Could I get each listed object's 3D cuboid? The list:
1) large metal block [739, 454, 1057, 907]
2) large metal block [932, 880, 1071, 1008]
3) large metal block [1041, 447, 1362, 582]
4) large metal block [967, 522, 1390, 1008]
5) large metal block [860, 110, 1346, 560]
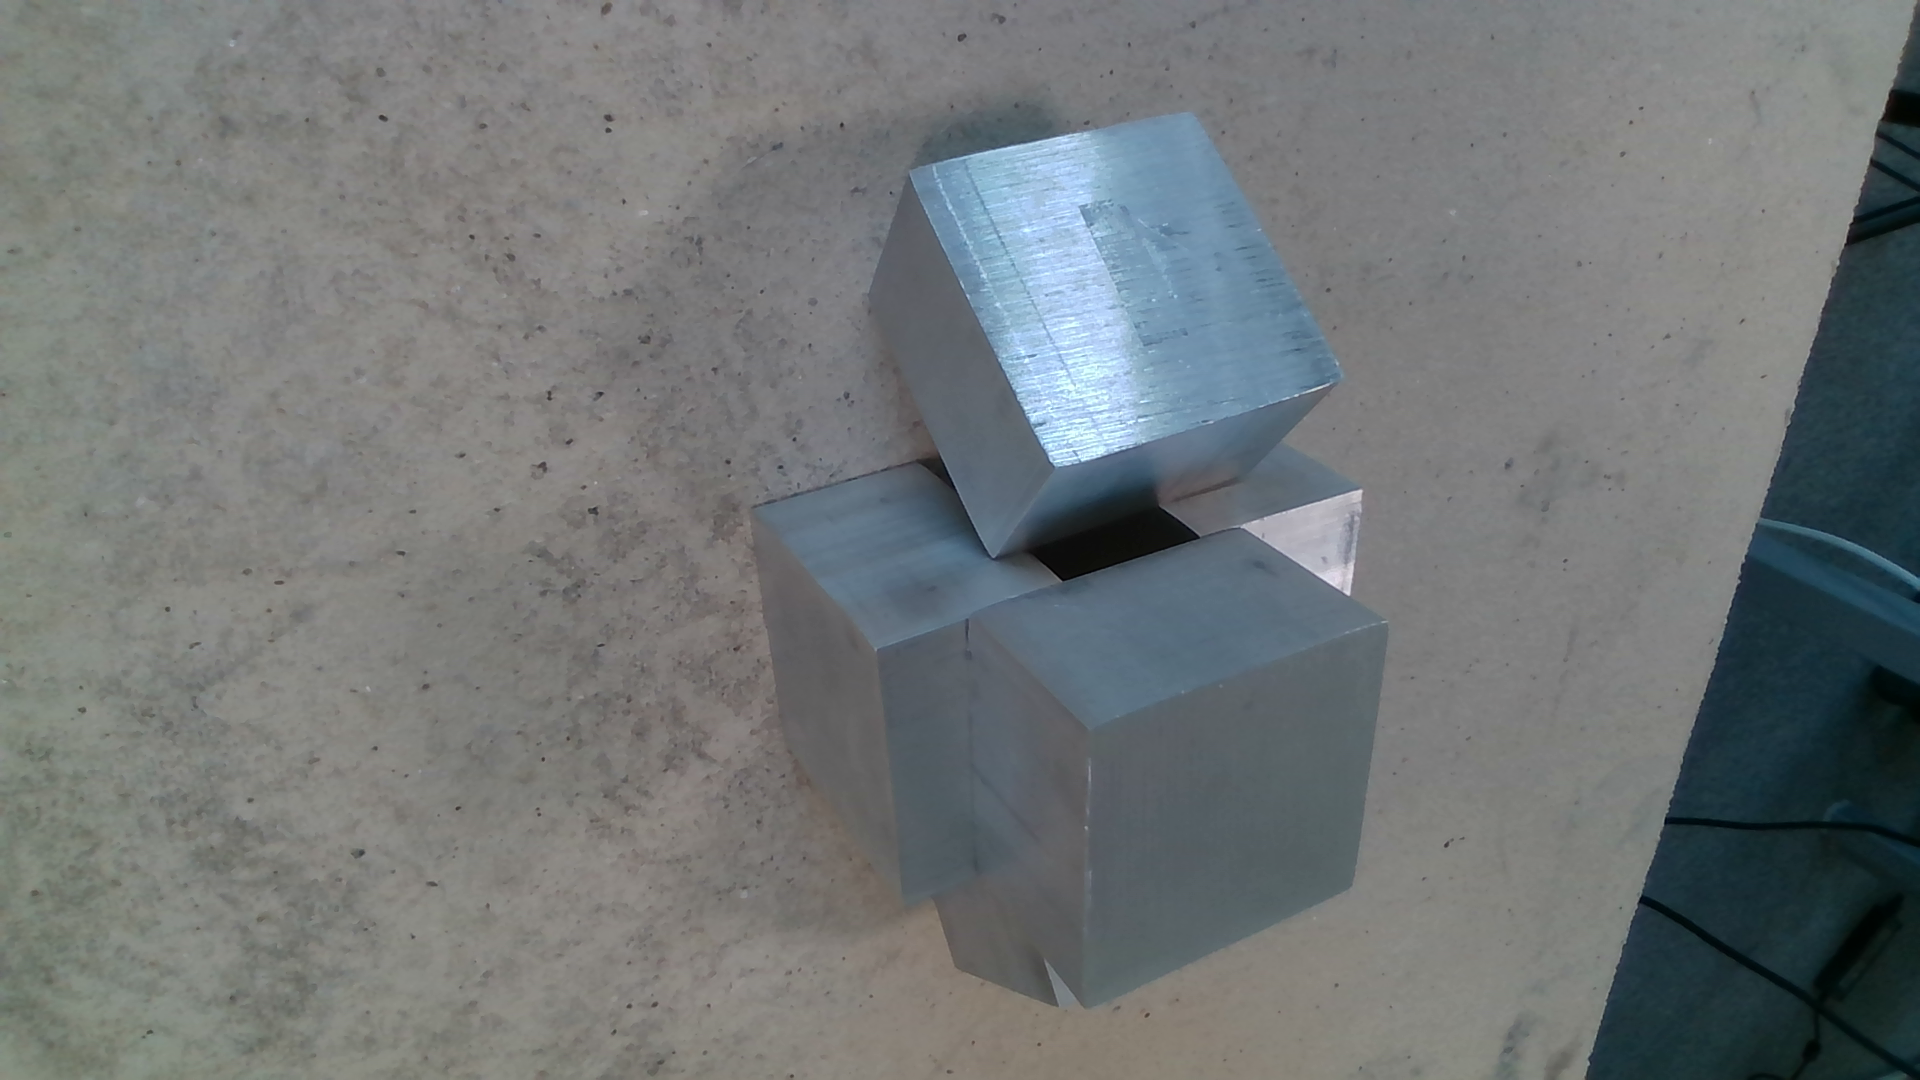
[{"bbox_3d":[-0.016,0.034,0.366,0.050,0.080,0.080,-18,122,-23],"label":"large metal block"},{"bbox_3d":[0.040,0.096,0.421,0.080,0.080,0.050,-18,88,-23],"label":"large metal block"},{"bbox_3d":[0.065,0.011,0.401,0.050,0.080,0.080,-16,123,-24],"label":"large metal block"},{"bbox_3d":[0.050,0.051,0.329,0.080,0.050,0.080,-16,122,-24],"label":"large metal block"},{"bbox_3d":[0.032,-0.051,0.338,0.080,0.080,0.050,-18,163,-23],"label":"large metal block"}]
